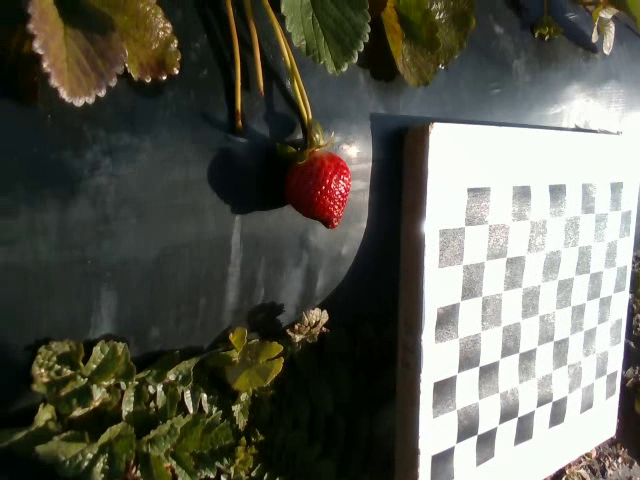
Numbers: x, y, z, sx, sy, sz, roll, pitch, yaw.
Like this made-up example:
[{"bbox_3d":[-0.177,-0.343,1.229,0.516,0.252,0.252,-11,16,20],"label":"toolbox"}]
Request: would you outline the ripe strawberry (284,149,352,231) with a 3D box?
[{"bbox_3d":[0.001,-0.023,0.289,0.040,0.044,0.036,-27,10,-33],"label":"ripe strawberry"}]
